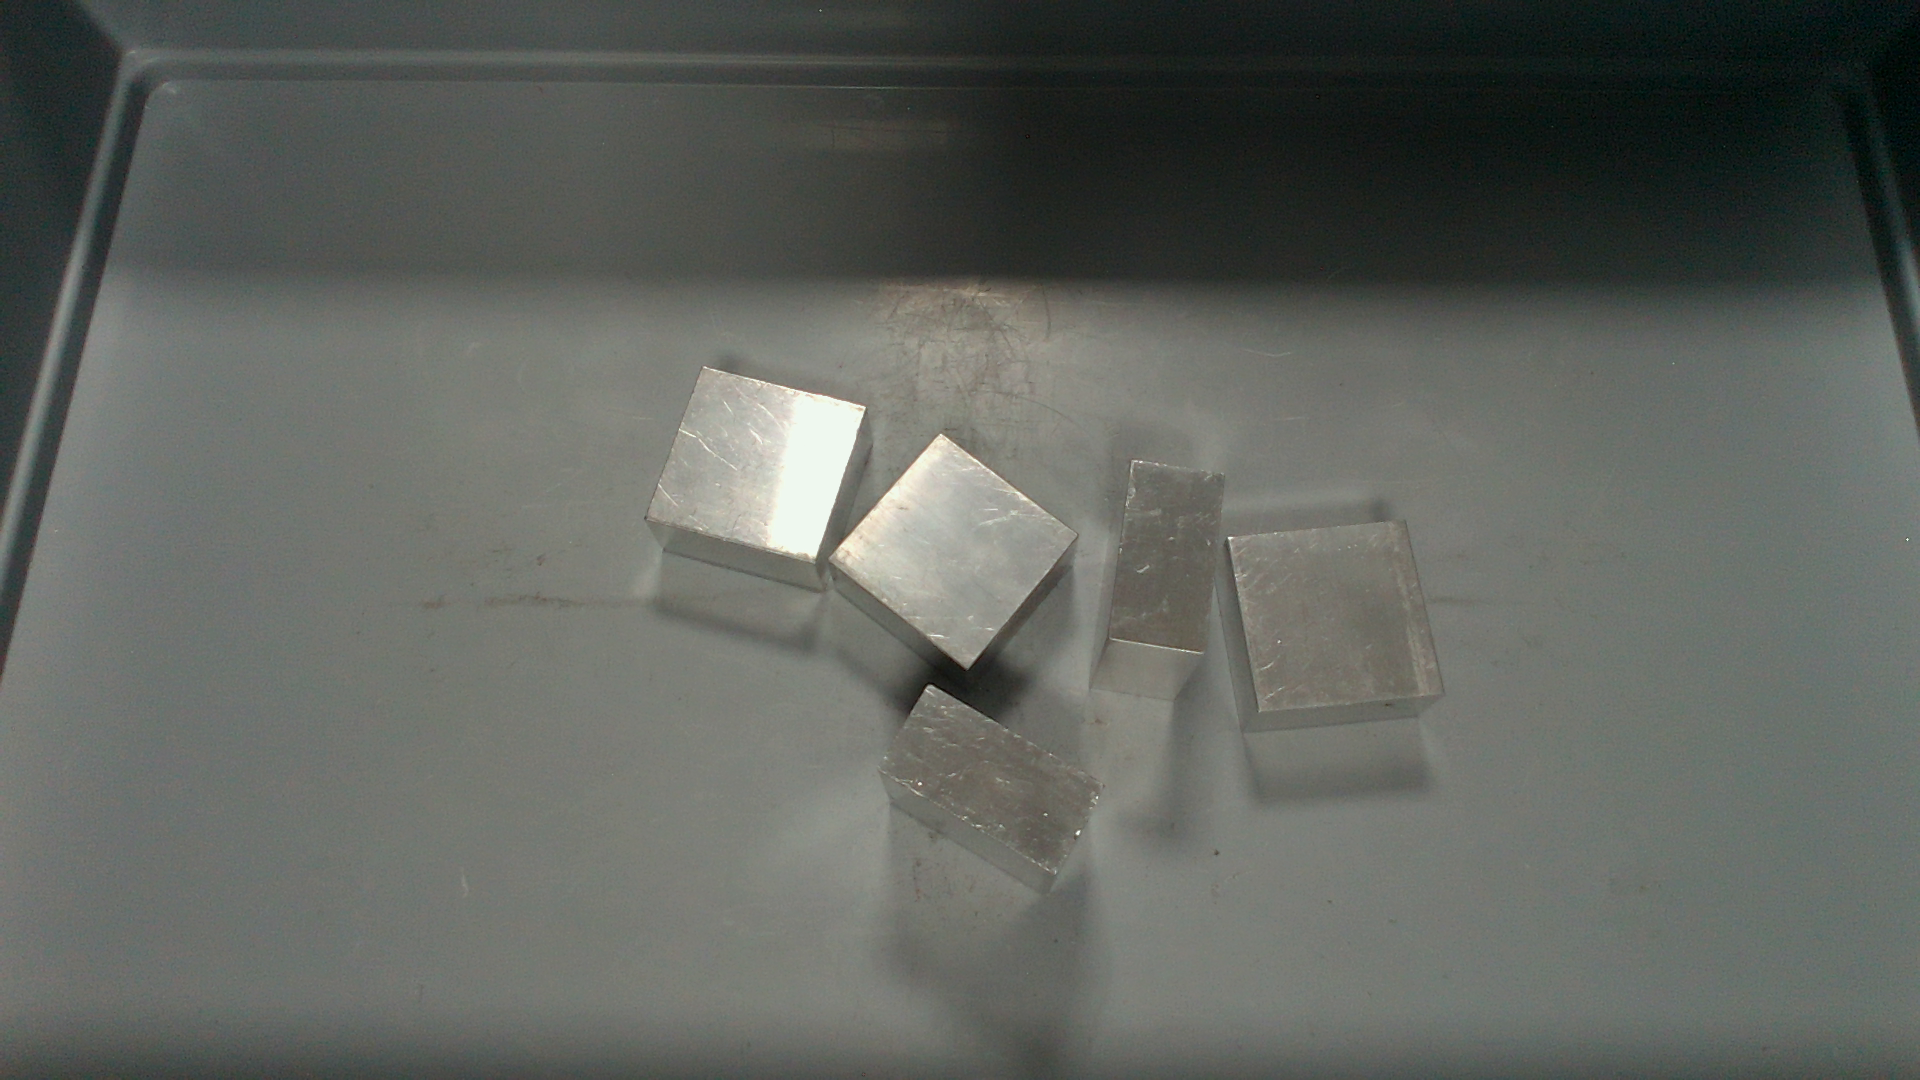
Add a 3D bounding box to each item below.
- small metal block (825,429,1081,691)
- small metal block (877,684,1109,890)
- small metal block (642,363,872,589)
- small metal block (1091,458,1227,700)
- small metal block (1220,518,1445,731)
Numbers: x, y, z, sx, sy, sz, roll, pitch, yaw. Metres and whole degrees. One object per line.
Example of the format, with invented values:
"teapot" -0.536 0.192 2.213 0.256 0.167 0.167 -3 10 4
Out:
"small metal block" -0.002 0.006 0.390 0.050 0.025 0.050 37 74 12
"small metal block" 0.008 0.066 0.355 0.050 0.050 0.025 29 74 9
"small metal block" -0.057 -0.018 0.399 0.050 0.025 0.050 14 71 5
"small metal block" 0.053 0.012 0.376 0.025 0.050 0.050 9 70 3
"small metal block" 0.101 0.024 0.384 0.050 0.025 0.050 -5 70 -2
